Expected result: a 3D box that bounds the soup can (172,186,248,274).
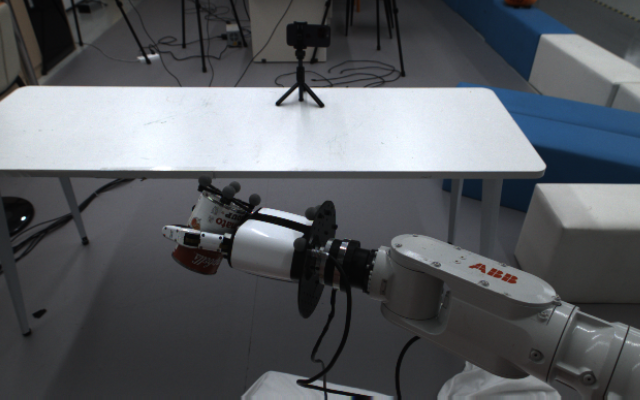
[{"bbox_3d":[-0.154,0.045,0.674,0.067,0.101,0.067,27,6,-3],"label":"soup can"}]
